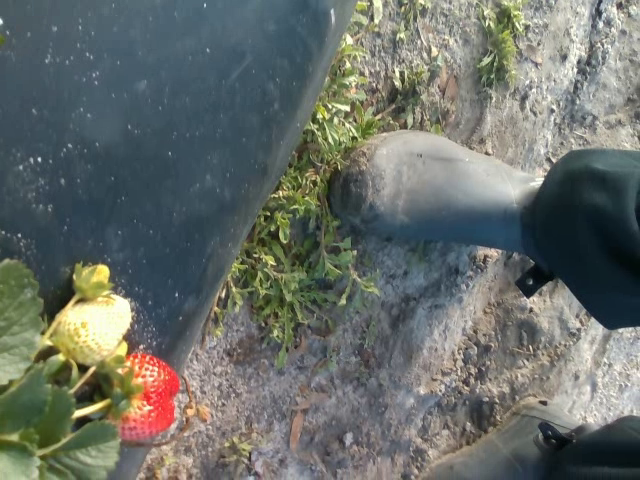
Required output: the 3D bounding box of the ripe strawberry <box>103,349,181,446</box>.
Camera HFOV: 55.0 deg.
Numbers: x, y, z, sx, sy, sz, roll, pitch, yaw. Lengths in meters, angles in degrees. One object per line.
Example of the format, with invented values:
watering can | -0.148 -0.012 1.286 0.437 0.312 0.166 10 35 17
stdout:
ripe strawberry | -0.095 0.094 0.356 0.034 0.048 0.050 23 -5 25
